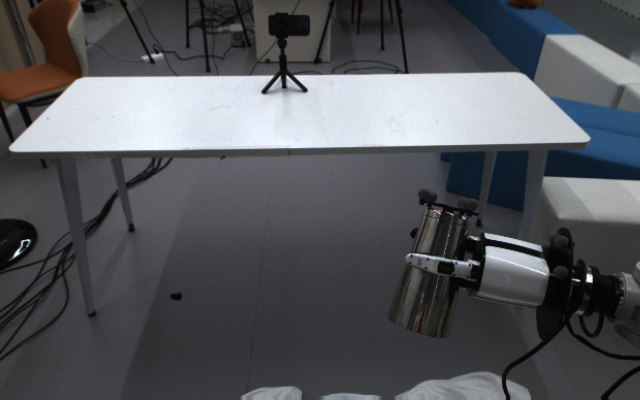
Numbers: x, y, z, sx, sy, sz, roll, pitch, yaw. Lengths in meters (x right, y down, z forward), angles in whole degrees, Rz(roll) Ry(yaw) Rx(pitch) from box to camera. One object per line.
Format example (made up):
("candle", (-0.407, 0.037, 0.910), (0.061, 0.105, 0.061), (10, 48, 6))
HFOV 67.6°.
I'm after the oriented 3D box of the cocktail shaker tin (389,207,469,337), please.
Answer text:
("cocktail shaker tin", (0.164, 0.100, 0.705), (0.093, 0.170, 0.093), (14, 2, -1))
